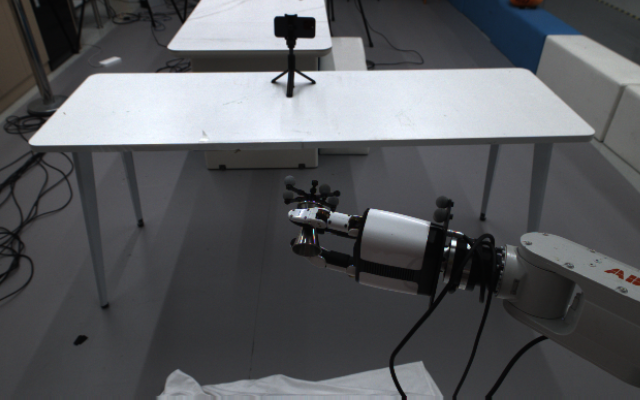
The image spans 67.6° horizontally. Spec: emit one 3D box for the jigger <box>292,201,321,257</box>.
[{"bbox_3d":[-0.017,0.038,0.681,0.043,0.043,0.071,4,60,2],"label":"jigger"}]
